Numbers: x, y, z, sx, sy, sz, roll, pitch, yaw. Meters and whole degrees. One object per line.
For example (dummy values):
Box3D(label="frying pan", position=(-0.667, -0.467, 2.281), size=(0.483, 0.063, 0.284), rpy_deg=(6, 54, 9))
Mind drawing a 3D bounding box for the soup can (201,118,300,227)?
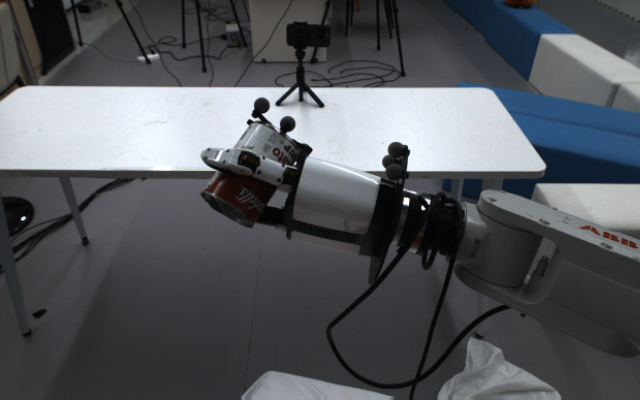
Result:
Box3D(label="soup can", position=(-0.075, -0.029, 0.540), size=(0.067, 0.067, 0.101), rpy_deg=(23, 72, 28))
